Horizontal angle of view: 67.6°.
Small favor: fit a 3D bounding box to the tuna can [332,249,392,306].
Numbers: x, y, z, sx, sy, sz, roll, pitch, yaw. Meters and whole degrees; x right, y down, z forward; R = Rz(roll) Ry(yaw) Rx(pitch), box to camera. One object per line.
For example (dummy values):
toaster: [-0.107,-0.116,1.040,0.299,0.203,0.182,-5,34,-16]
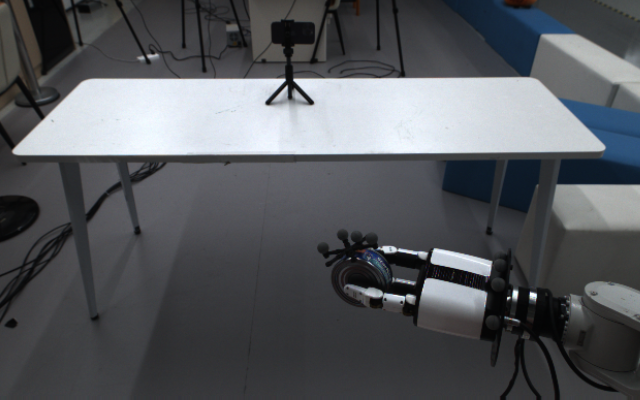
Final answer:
tuna can: [0.064,0.120,0.702,0.085,0.085,0.034,15,30,18]
